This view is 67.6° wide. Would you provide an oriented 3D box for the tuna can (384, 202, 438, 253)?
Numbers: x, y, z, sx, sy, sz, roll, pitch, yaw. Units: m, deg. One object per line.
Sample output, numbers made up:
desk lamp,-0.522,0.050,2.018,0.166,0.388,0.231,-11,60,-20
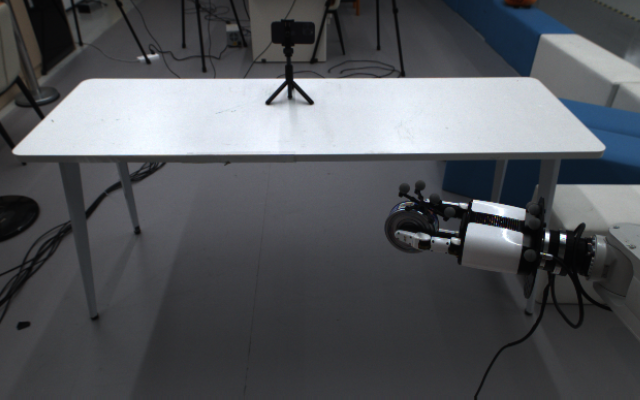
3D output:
tuna can,0.154,0.051,0.798,0.085,0.085,0.034,15,31,18
